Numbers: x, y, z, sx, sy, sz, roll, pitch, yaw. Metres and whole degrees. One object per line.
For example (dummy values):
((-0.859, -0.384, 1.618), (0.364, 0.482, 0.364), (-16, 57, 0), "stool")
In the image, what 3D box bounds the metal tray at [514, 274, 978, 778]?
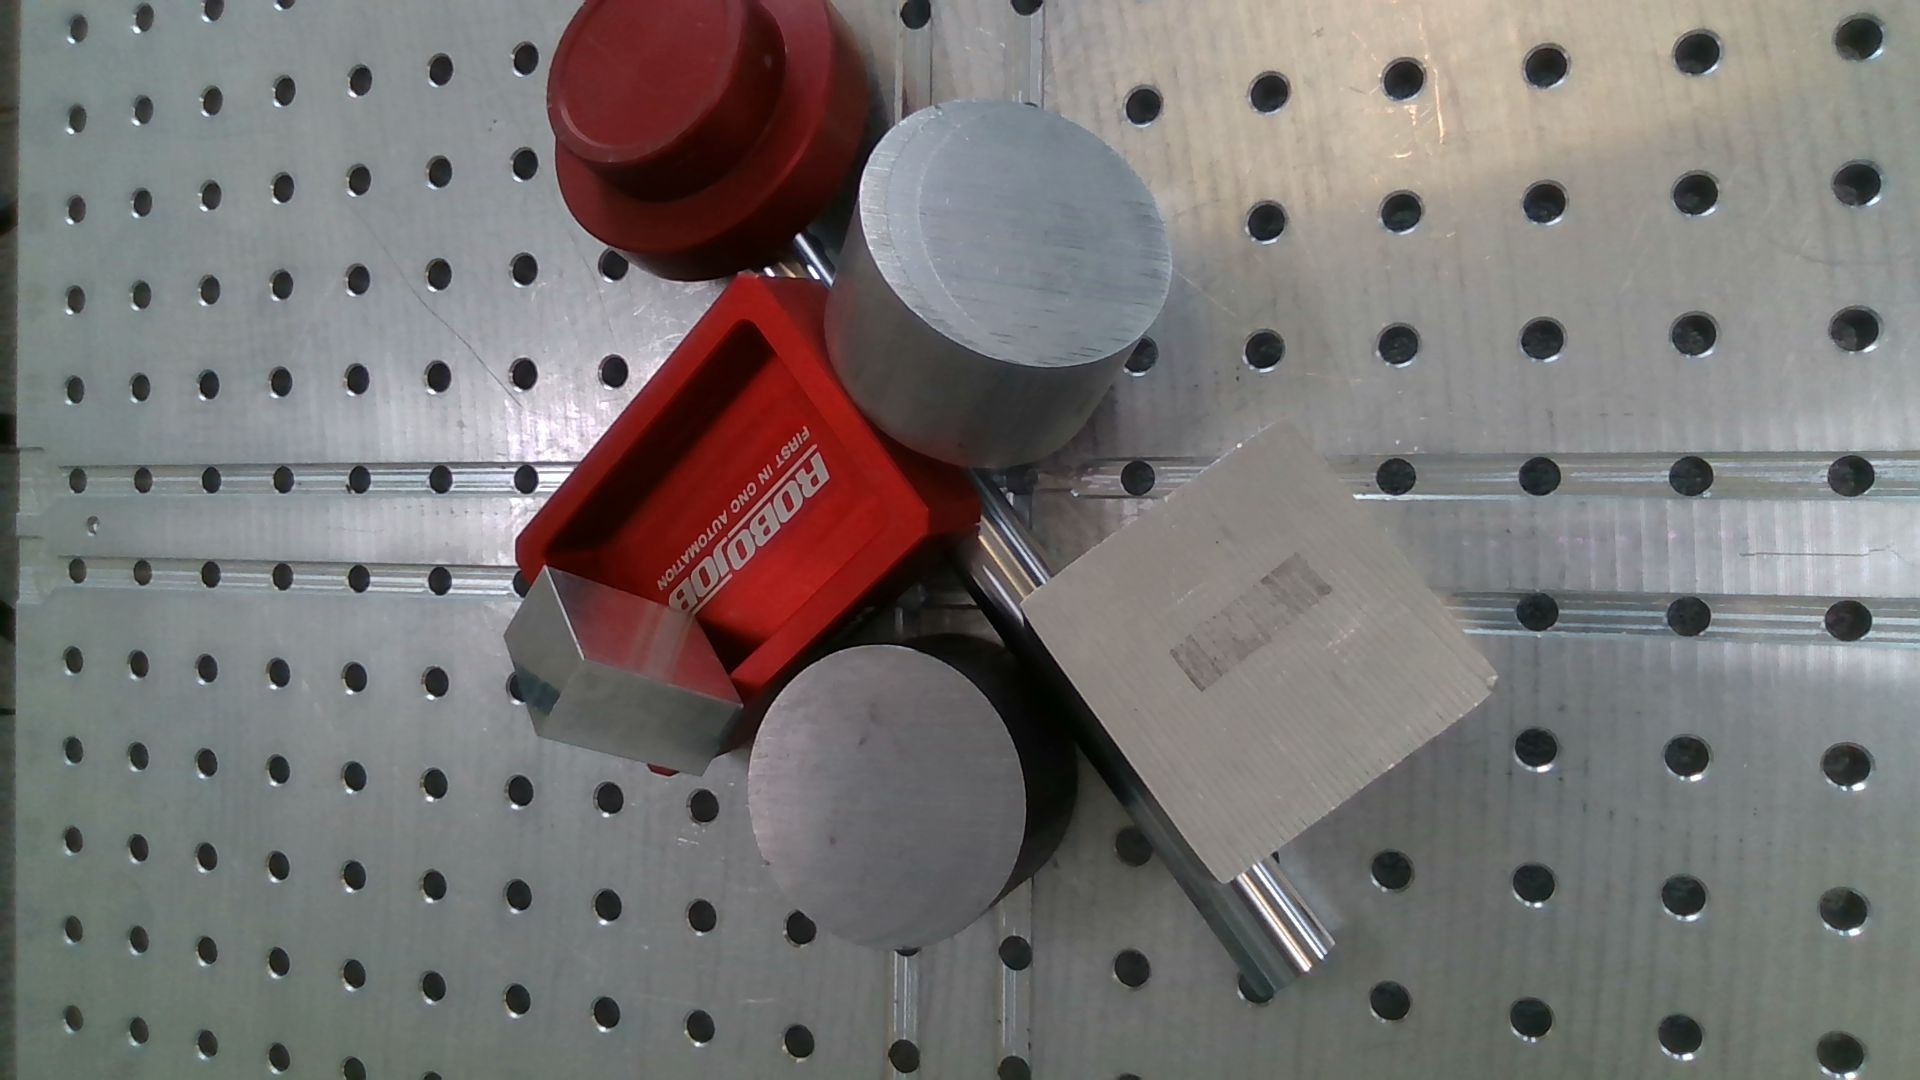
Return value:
((-0.067, -0.002, 0.403), (0.130, 0.030, 0.090), (-43, 76, 28), "metal tray")

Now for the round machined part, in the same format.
((-0.080, -0.130, 0.402), (0.098, 0.042, 0.098), (-8, 71, 24), "round machined part")

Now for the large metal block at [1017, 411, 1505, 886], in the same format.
((0.071, 0.029, 0.345), (0.080, 0.050, 0.080), (-35, 78, -3), "large metal block")

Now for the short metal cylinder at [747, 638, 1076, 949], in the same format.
((-0.012, 0.068, 0.388), (0.080, 0.050, 0.080), (0, 90, 20), "short metal cylinder")

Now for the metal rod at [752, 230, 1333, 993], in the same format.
((0.003, -0.006, 0.397), (0.025, 0.025, 0.300), (-40, 77, 16), "metal rod")

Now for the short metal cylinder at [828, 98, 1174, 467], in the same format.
((0.009, -0.066, 0.358), (0.080, 0.050, 0.080), (7, 63, -13), "short metal cylinder")

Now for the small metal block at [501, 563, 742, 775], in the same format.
((-0.096, 0.036, 0.388), (0.025, 0.050, 0.050), (-58, 38, 13), "small metal block")
